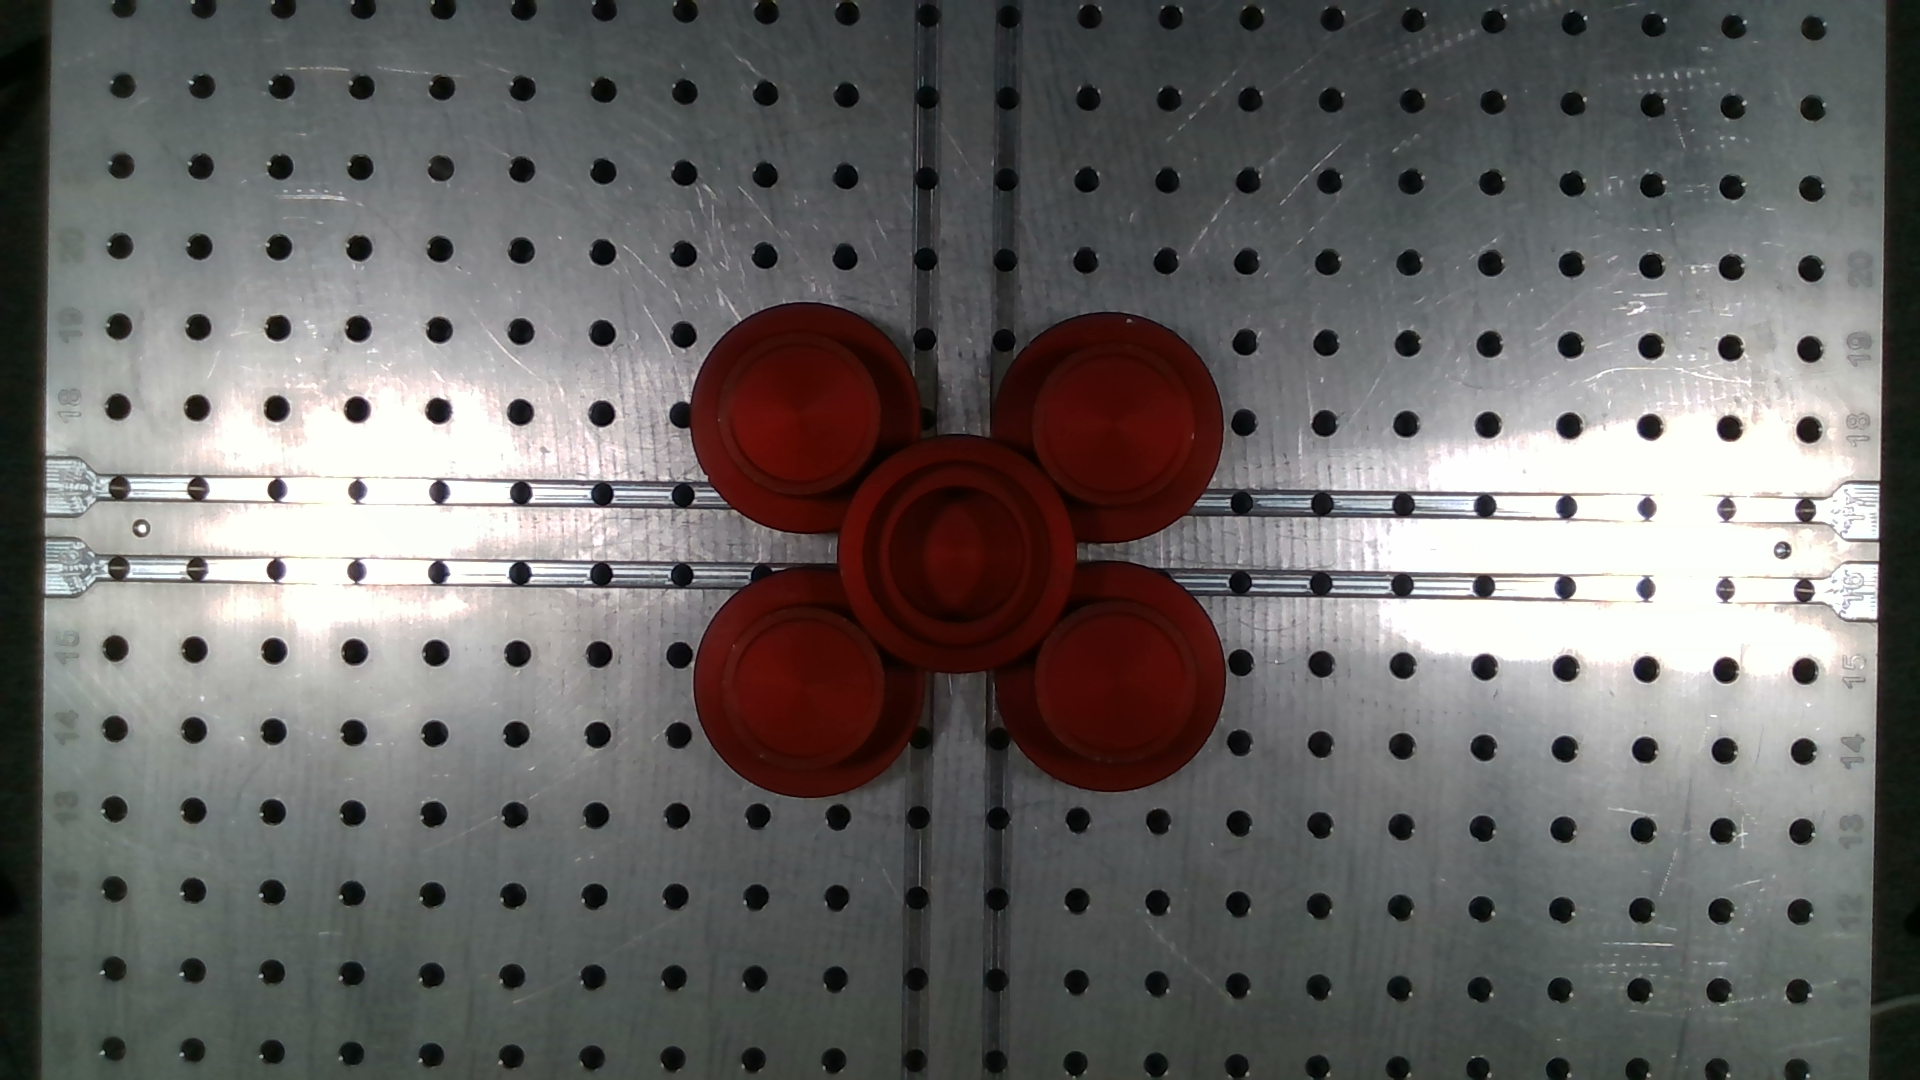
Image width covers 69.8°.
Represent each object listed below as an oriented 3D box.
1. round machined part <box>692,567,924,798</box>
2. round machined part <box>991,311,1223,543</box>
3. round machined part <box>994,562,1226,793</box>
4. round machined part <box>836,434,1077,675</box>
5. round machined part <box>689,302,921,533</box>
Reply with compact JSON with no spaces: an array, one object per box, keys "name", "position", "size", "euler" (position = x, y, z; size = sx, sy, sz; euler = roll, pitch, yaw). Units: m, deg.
[{"name":"round machined part","position":[-0.064,0.060,0.581],"size":[0.098,0.042,0.098],"euler":[0,90,0]},{"name":"round machined part","position":[0.062,-0.048,0.580],"size":[0.098,0.042,0.098],"euler":[0,90,0]},{"name":"round machined part","position":[0.063,0.058,0.581],"size":[0.098,0.042,0.098],"euler":[0,90,0]},{"name":"round machined part","position":[-0.001,0.006,0.579],"size":[0.098,0.042,0.098],"euler":[0,90,0]},{"name":"round machined part","position":[-0.066,-0.052,0.581],"size":[0.098,0.042,0.098],"euler":[0,90,0]}]
